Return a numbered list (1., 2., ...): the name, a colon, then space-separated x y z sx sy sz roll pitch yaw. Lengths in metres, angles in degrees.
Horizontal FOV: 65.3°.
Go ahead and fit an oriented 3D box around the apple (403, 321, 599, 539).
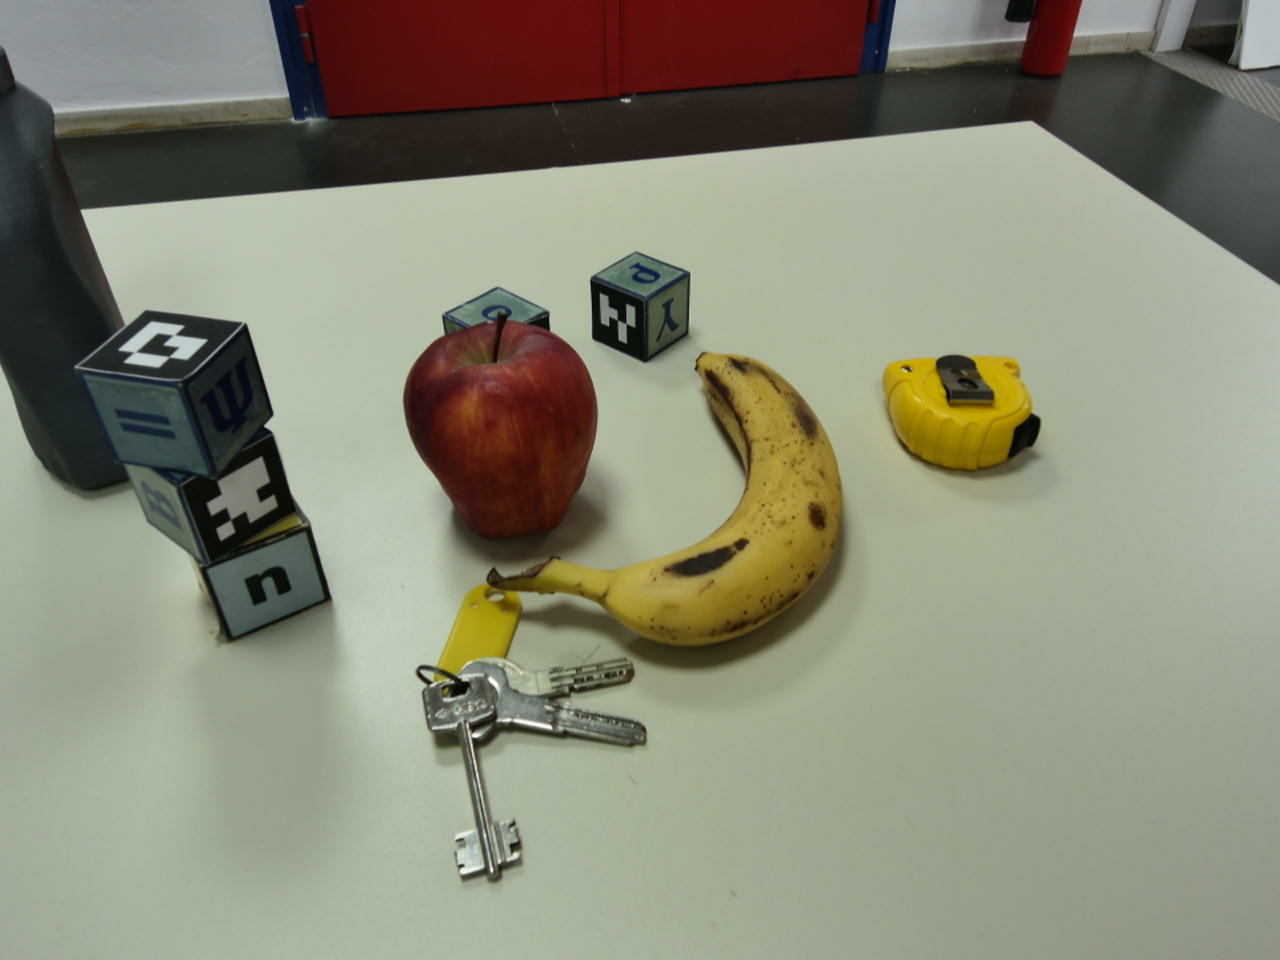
1. apple: -0.056 -0.026 0.406 0.083 0.090 0.083 0 38 0
